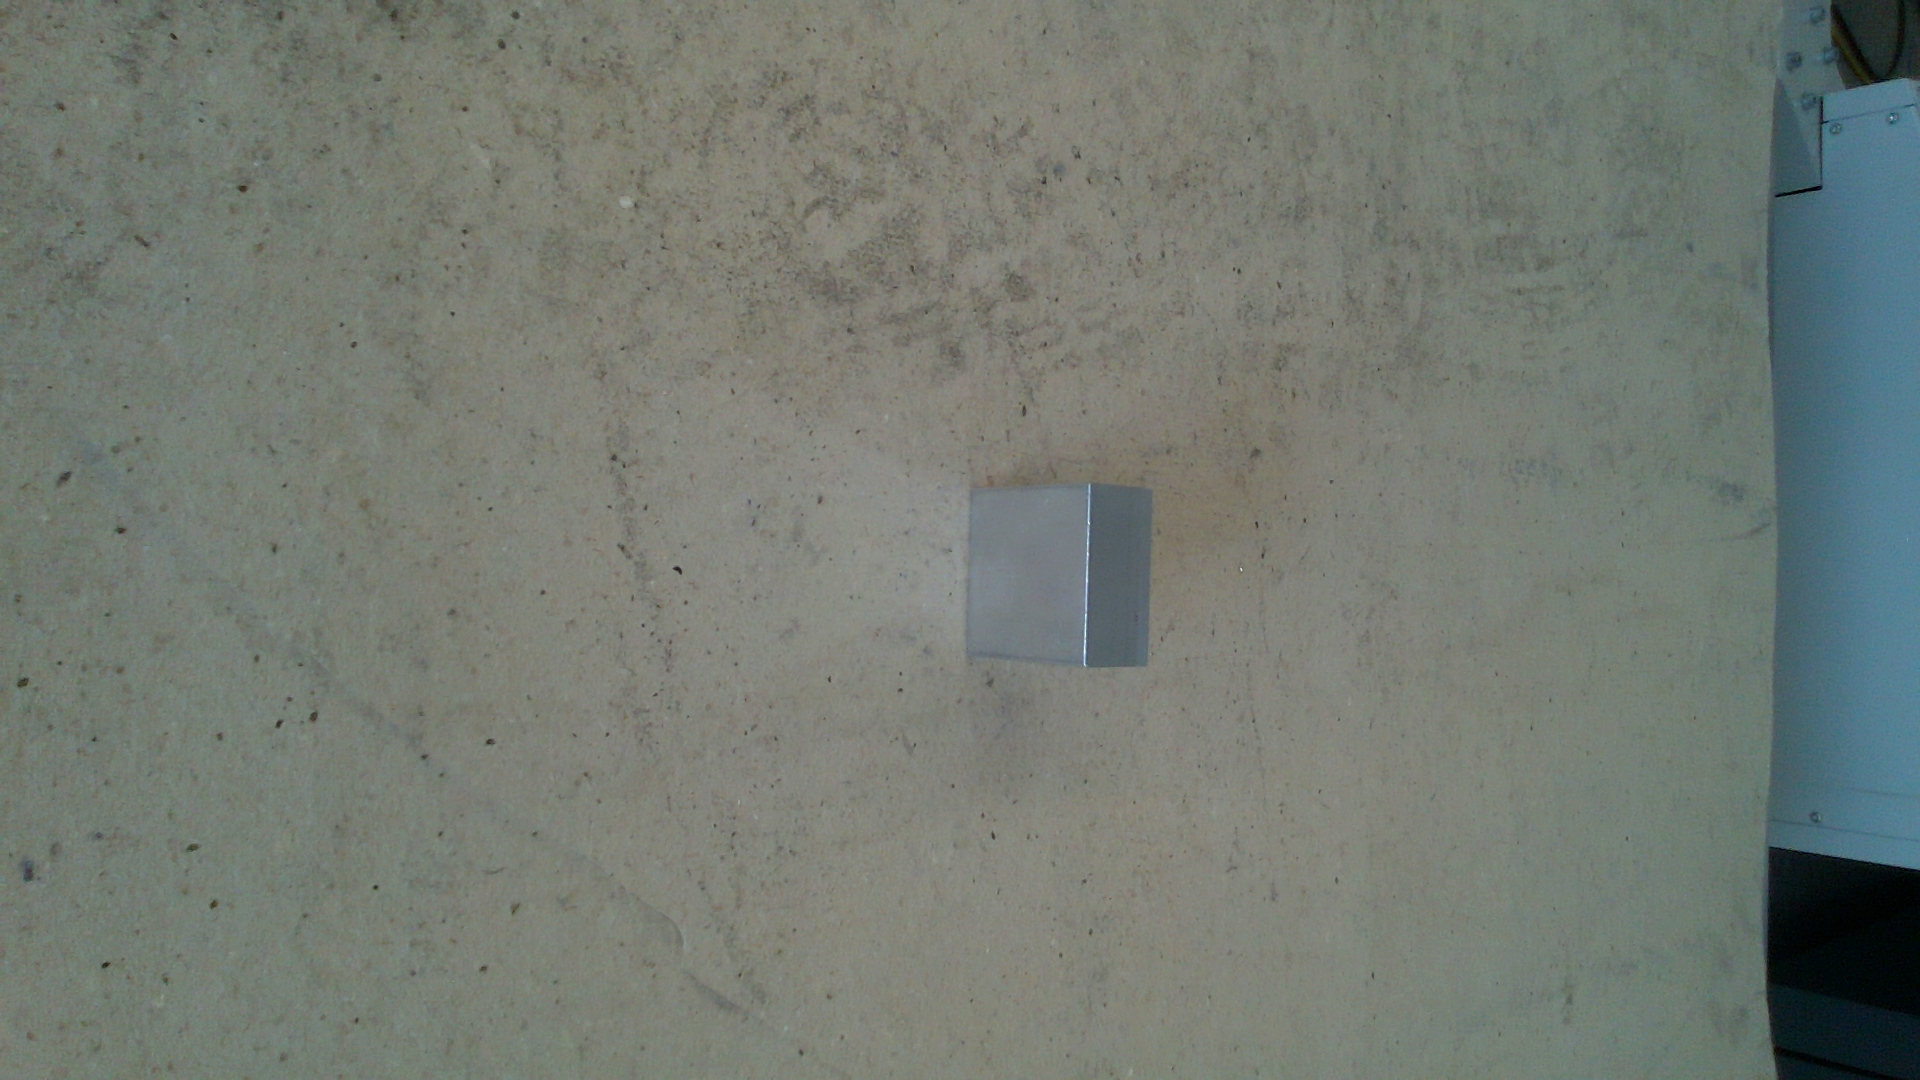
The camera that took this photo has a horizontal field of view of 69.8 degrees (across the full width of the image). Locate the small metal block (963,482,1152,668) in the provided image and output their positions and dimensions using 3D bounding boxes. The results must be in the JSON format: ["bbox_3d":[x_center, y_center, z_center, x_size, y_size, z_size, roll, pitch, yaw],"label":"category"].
[{"bbox_3d":[0.027,0.010,0.395,0.025,0.050,0.050,3,88,-41],"label":"small metal block"}]
